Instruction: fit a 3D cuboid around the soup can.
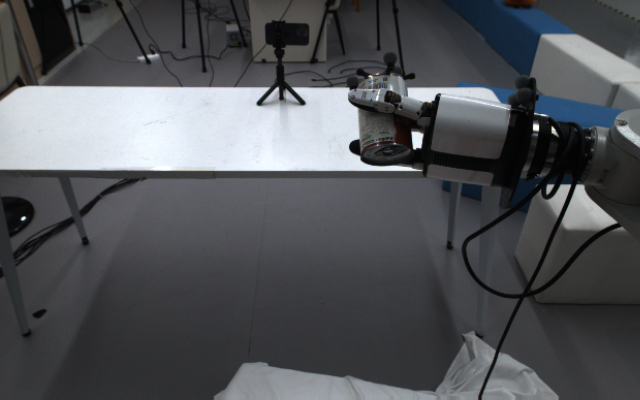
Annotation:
[{"bbox_3d":[0.082,-0.105,0.626,0.067,0.067,0.101,-1,72,-4],"label":"soup can"}]
